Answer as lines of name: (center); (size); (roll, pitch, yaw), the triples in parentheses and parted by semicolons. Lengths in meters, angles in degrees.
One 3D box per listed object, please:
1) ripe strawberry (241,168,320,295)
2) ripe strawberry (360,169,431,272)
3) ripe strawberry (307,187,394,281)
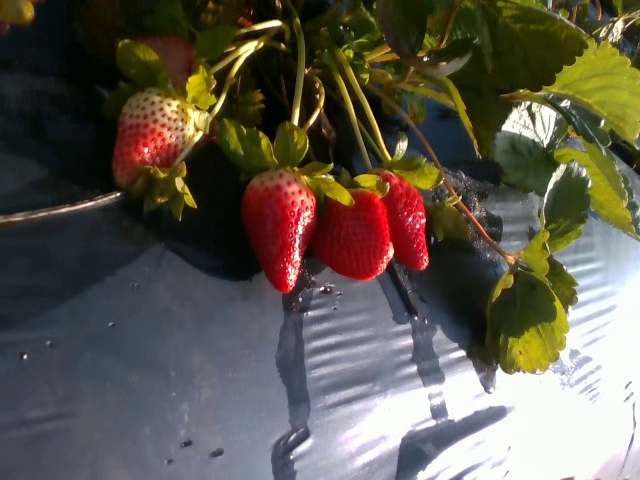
ripe strawberry: (-0.012, -0.003, 0.214); (0.031, 0.046, 0.023); (1, -6, -40)
ripe strawberry: (0.034, -0.002, 0.249); (0.035, 0.041, 0.034); (-4, -38, -39)
ripe strawberry: (0.014, -0.002, 0.228); (0.030, 0.037, 0.039); (15, 26, -41)
